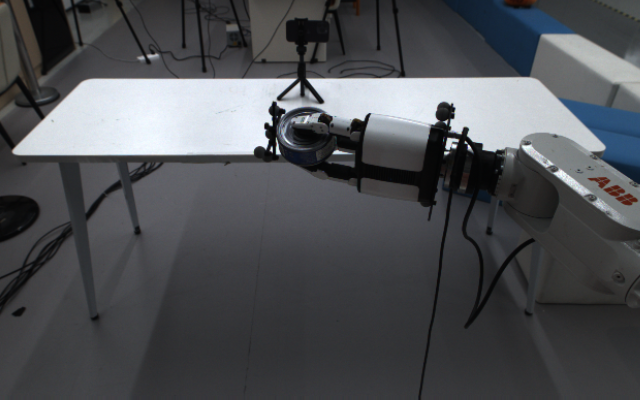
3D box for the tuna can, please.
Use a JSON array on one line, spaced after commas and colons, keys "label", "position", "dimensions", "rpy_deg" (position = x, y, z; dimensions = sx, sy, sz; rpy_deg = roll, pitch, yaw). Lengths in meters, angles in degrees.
[{"label": "tuna can", "position": [-0.018, -0.093, 0.695], "dimensions": [0.085, 0.034, 0.085], "rpy_deg": [-2, 57, 3]}]
